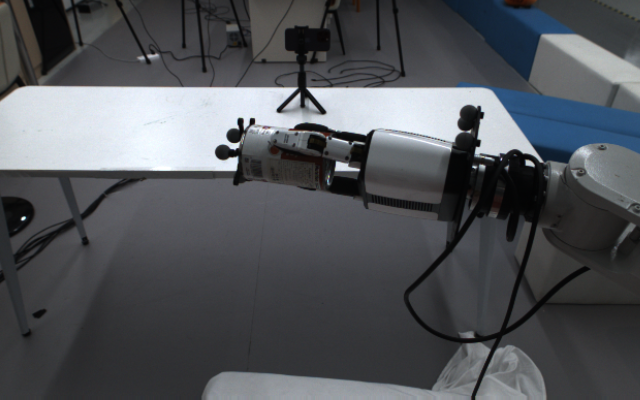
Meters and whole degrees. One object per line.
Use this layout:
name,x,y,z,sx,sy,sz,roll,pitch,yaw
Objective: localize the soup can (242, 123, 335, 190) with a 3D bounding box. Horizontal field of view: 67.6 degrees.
soup can,-0.034,-0.051,0.568,0.101,0.067,0.067,7,35,10
